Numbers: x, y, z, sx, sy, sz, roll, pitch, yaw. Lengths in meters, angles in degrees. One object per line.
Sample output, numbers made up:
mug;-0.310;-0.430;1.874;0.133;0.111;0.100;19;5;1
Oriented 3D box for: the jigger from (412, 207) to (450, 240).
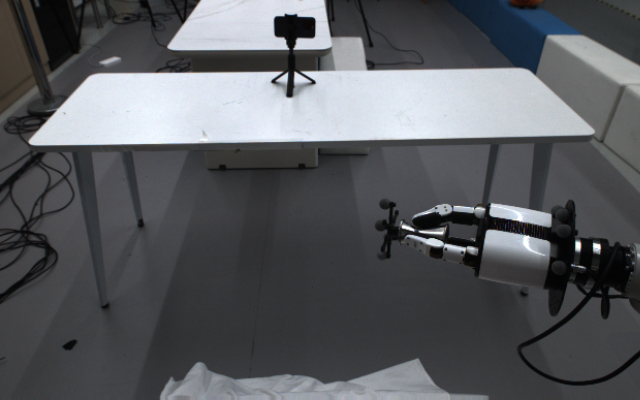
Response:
jigger;0.160;0.049;0.720;0.071;0.043;0.043;7;34;20
